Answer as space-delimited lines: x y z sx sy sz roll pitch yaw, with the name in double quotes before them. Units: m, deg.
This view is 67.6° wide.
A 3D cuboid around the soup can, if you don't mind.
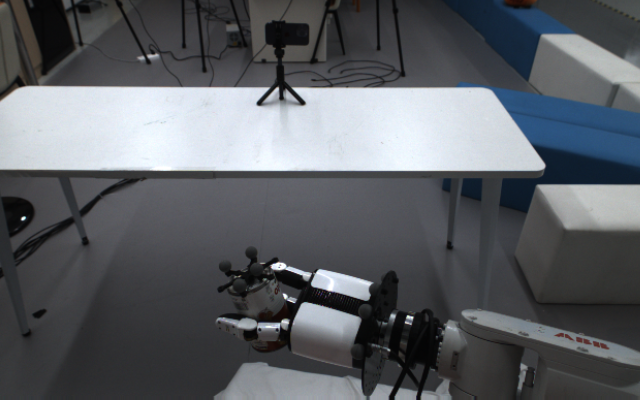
"soup can" -0.077 0.149 0.664 0.067 0.101 0.067 -16 23 7
